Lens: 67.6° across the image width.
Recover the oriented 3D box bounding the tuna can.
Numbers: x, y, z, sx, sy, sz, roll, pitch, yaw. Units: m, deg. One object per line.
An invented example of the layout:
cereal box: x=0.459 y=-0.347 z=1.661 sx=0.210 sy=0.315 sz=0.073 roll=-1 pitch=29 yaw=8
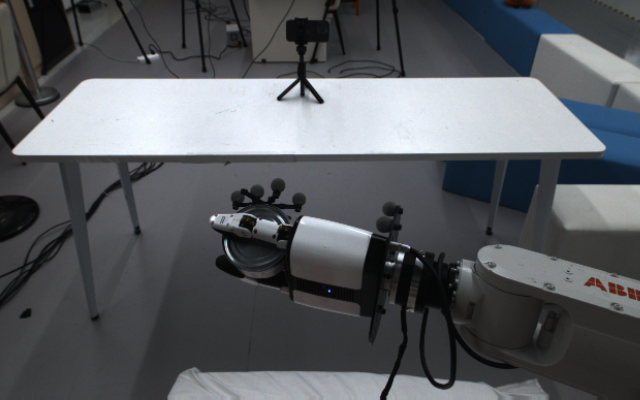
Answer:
tuna can: x=-0.070 y=0.050 z=0.582 sx=0.085 sy=0.034 sz=0.085 roll=-4 pitch=61 yaw=7
